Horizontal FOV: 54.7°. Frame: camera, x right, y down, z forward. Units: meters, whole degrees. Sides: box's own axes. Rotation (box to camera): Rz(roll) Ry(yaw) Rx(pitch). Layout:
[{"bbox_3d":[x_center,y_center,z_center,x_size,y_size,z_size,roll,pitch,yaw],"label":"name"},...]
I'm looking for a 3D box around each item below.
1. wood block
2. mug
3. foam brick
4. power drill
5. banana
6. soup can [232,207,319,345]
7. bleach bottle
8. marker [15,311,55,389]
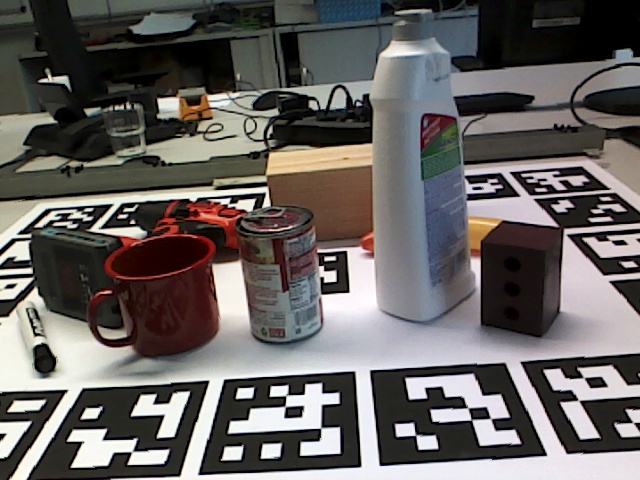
[{"bbox_3d":[0.040,-0.056,0.739,0.206,0.091,0.090,-5,25,1],"label":"wood block"},{"bbox_3d":[-0.143,0.054,0.537,0.094,0.081,0.116,19,37,39],"label":"mug"},{"bbox_3d":[0.168,0.037,0.519,0.053,0.078,0.051,9,25,33],"label":"foam brick"},{"bbox_3d":[-0.191,0.015,0.680,0.185,0.057,0.186,11,28,26],"label":"power drill"},{"bbox_3d":[0.123,-0.006,0.664,0.198,0.039,0.074,4,39,15],"label":"banana"},{"bbox_3d":[-0.037,0.030,0.532,0.068,0.102,0.068,-3,20,1],"label":"soup can"},{"bbox_3d":[0.081,-0.055,0.529,0.068,0.250,0.102,8,26,29],"label":"bleach bottle"},{"bbox_3d":[-0.256,0.096,0.552,0.019,0.019,0.122,-20,29,-25],"label":"marker"}]
